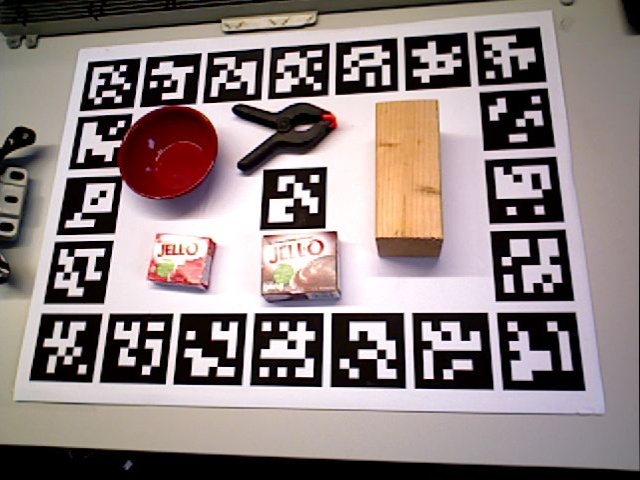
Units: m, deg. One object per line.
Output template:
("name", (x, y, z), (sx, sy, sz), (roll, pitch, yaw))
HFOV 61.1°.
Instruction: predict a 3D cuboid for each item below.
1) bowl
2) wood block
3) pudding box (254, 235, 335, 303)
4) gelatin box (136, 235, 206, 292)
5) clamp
("bowl", (-0.240, -0.130, 0.850), (0.161, 0.055, 0.161), (-2, 75, 7))
("wood block", (0.121, -0.080, 0.752), (0.090, 0.092, 0.205), (2, 73, 7))
("pudding box", (-0.036, 0.042, 0.767), (0.114, 0.039, 0.089), (-2, 76, 10))
("gelatin box", (-0.220, 0.034, 0.800), (0.089, 0.030, 0.073), (7, 75, 11))
("clamp", (-0.078, -0.168, 0.848), (0.165, 0.037, 0.121), (-11, 71, 3))
